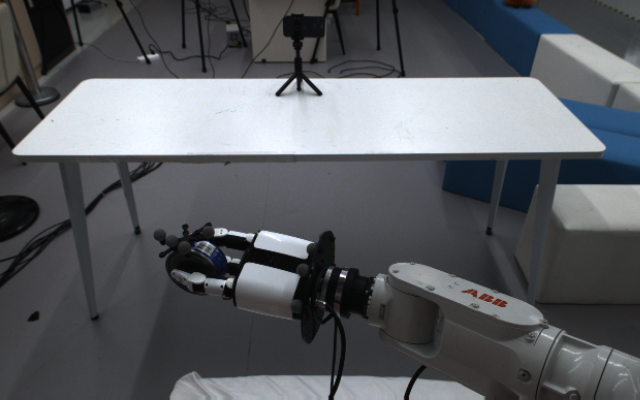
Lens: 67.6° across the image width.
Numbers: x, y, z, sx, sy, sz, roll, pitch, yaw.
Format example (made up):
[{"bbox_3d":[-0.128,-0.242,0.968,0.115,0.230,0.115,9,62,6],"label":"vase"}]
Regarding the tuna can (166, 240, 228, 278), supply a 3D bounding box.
[{"bbox_3d":[-0.173,0.100,0.711,0.085,0.085,0.034,9,33,10],"label":"tuna can"}]
